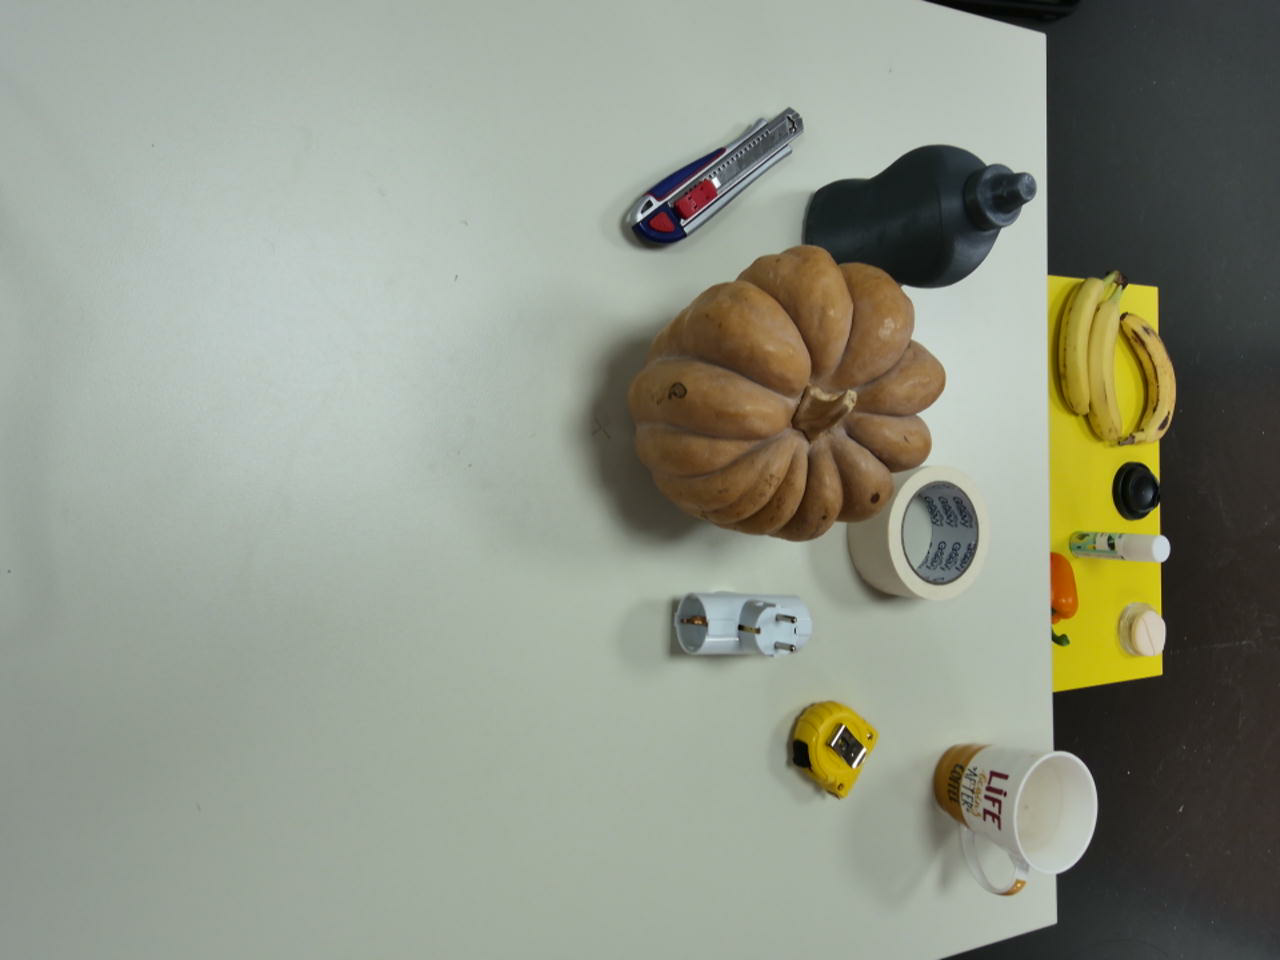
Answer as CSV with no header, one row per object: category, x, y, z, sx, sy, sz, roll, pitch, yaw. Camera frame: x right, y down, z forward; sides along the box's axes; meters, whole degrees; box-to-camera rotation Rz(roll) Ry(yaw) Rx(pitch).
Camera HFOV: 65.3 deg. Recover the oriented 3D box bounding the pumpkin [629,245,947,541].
pumpkin,0.091,-0.054,0.666,0.198,0.177,0.198,0,91,-28
